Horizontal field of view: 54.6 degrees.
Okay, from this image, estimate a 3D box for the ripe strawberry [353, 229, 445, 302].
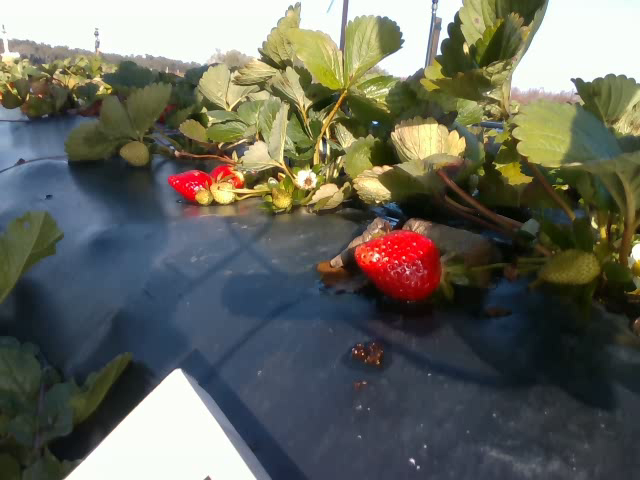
[{"bbox_3d":[0.029,0.010,0.274,0.054,0.038,0.047,7,28,-19],"label":"ripe strawberry"}]
